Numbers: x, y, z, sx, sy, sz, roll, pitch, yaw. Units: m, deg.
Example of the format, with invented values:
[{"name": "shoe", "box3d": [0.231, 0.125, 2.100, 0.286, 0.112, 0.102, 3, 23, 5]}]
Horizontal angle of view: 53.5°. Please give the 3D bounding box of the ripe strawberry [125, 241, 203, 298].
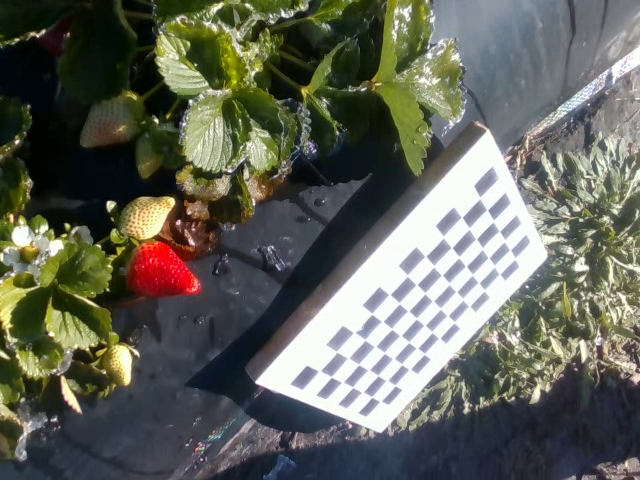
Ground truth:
[{"name": "ripe strawberry", "box3d": [-0.097, 0.023, 0.397, 0.053, 0.040, 0.042, 24, 28, 17]}]
